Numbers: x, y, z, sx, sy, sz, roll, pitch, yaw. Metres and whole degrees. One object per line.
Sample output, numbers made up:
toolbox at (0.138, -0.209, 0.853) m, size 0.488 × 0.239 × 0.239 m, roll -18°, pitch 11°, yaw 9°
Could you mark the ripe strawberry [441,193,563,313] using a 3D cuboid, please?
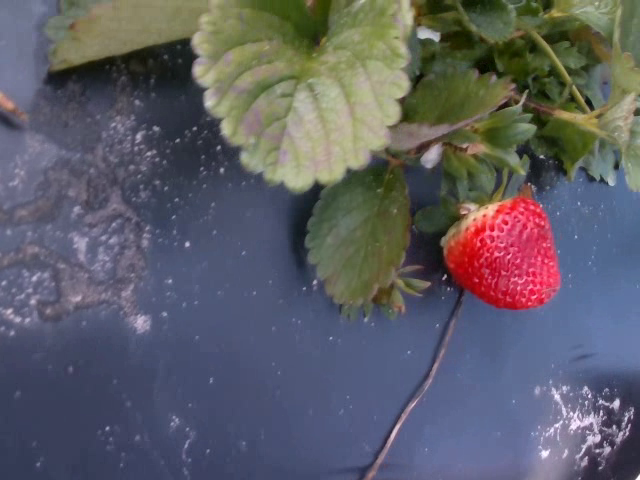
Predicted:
ripe strawberry at (0.081, 0.010, 0.253) m, size 0.050 × 0.053 × 0.049 m, roll 4°, pitch -44°, yaw -31°
